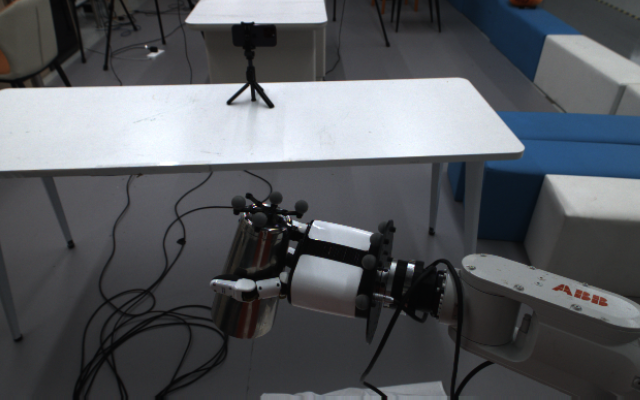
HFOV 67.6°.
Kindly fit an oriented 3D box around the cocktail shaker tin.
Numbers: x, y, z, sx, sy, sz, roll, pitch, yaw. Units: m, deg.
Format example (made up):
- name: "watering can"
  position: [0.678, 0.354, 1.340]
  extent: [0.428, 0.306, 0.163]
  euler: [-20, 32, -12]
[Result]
- name: "cocktail shaker tin"
  position: [-0.085, 0.091, 0.649]
  extent: [0.093, 0.170, 0.093]
  euler: [12, 29, -7]
